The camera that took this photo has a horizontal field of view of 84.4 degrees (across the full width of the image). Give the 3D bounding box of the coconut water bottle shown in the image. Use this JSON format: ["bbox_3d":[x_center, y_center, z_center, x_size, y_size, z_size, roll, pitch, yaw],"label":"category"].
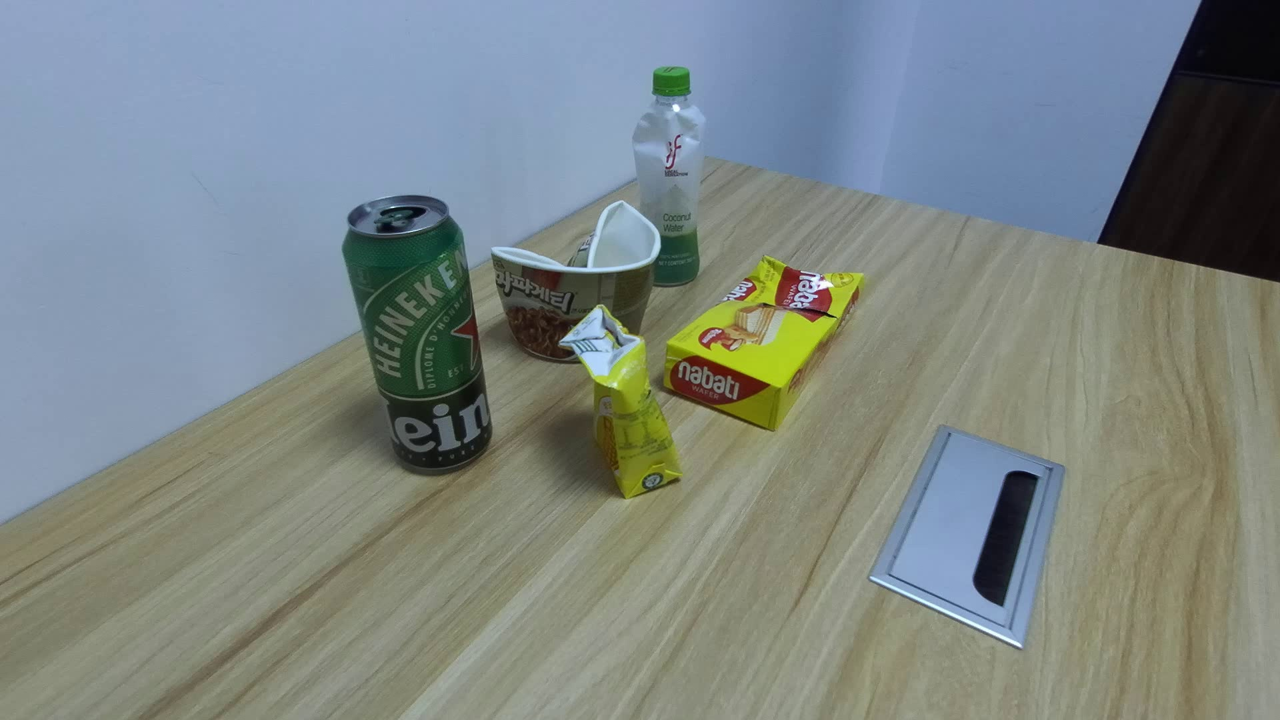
[{"bbox_3d":[0.028,-0.160,0.631,0.069,0.186,0.069,0,36,0],"label":"coconut water bottle"}]

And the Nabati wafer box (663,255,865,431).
[{"bbox_3d":[0.104,-0.029,0.575,0.106,0.042,0.205,21,38,23],"label":"Nabati wafer box"}]

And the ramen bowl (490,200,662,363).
[{"bbox_3d":[-0.051,-0.062,0.571,0.137,0.098,0.137,-1,37,1],"label":"ramen bowl"}]

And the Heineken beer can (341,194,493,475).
[{"bbox_3d":[-0.133,-0.011,0.438,0.067,0.169,0.067,0,35,0],"label":"Heineken beer can"}]

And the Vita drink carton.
[{"bbox_3d":[-0.012,0.026,0.440,0.042,0.108,0.086,-23,36,-9],"label":"Vita drink carton"}]
